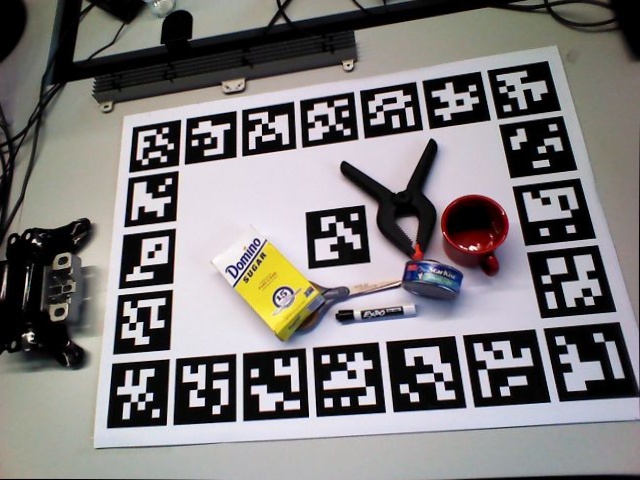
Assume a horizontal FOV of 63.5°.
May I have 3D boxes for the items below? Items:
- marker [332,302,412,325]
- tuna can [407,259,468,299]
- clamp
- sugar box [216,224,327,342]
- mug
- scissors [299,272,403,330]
[{"bbox_3d":[0.078,0.112,0.787,0.121,0.019,0.019,-10,70,8],"label":"marker"},{"bbox_3d":[0.171,0.058,0.752,0.086,0.086,0.033,10,72,14],"label":"tuna can"},{"bbox_3d":[0.138,-0.061,0.839,0.166,0.037,0.202,-16,69,5],"label":"clamp"},{"bbox_3d":[-0.079,0.064,0.816,0.093,0.045,0.176,-41,62,-6],"label":"sugar box"},{"bbox_3d":[0.228,0.003,0.766,0.093,0.081,0.117,-32,64,-2],"label":"mug"},{"bbox_3d":[0.031,0.078,0.806,0.203,0.016,0.087,-16,64,3],"label":"scissors"}]
